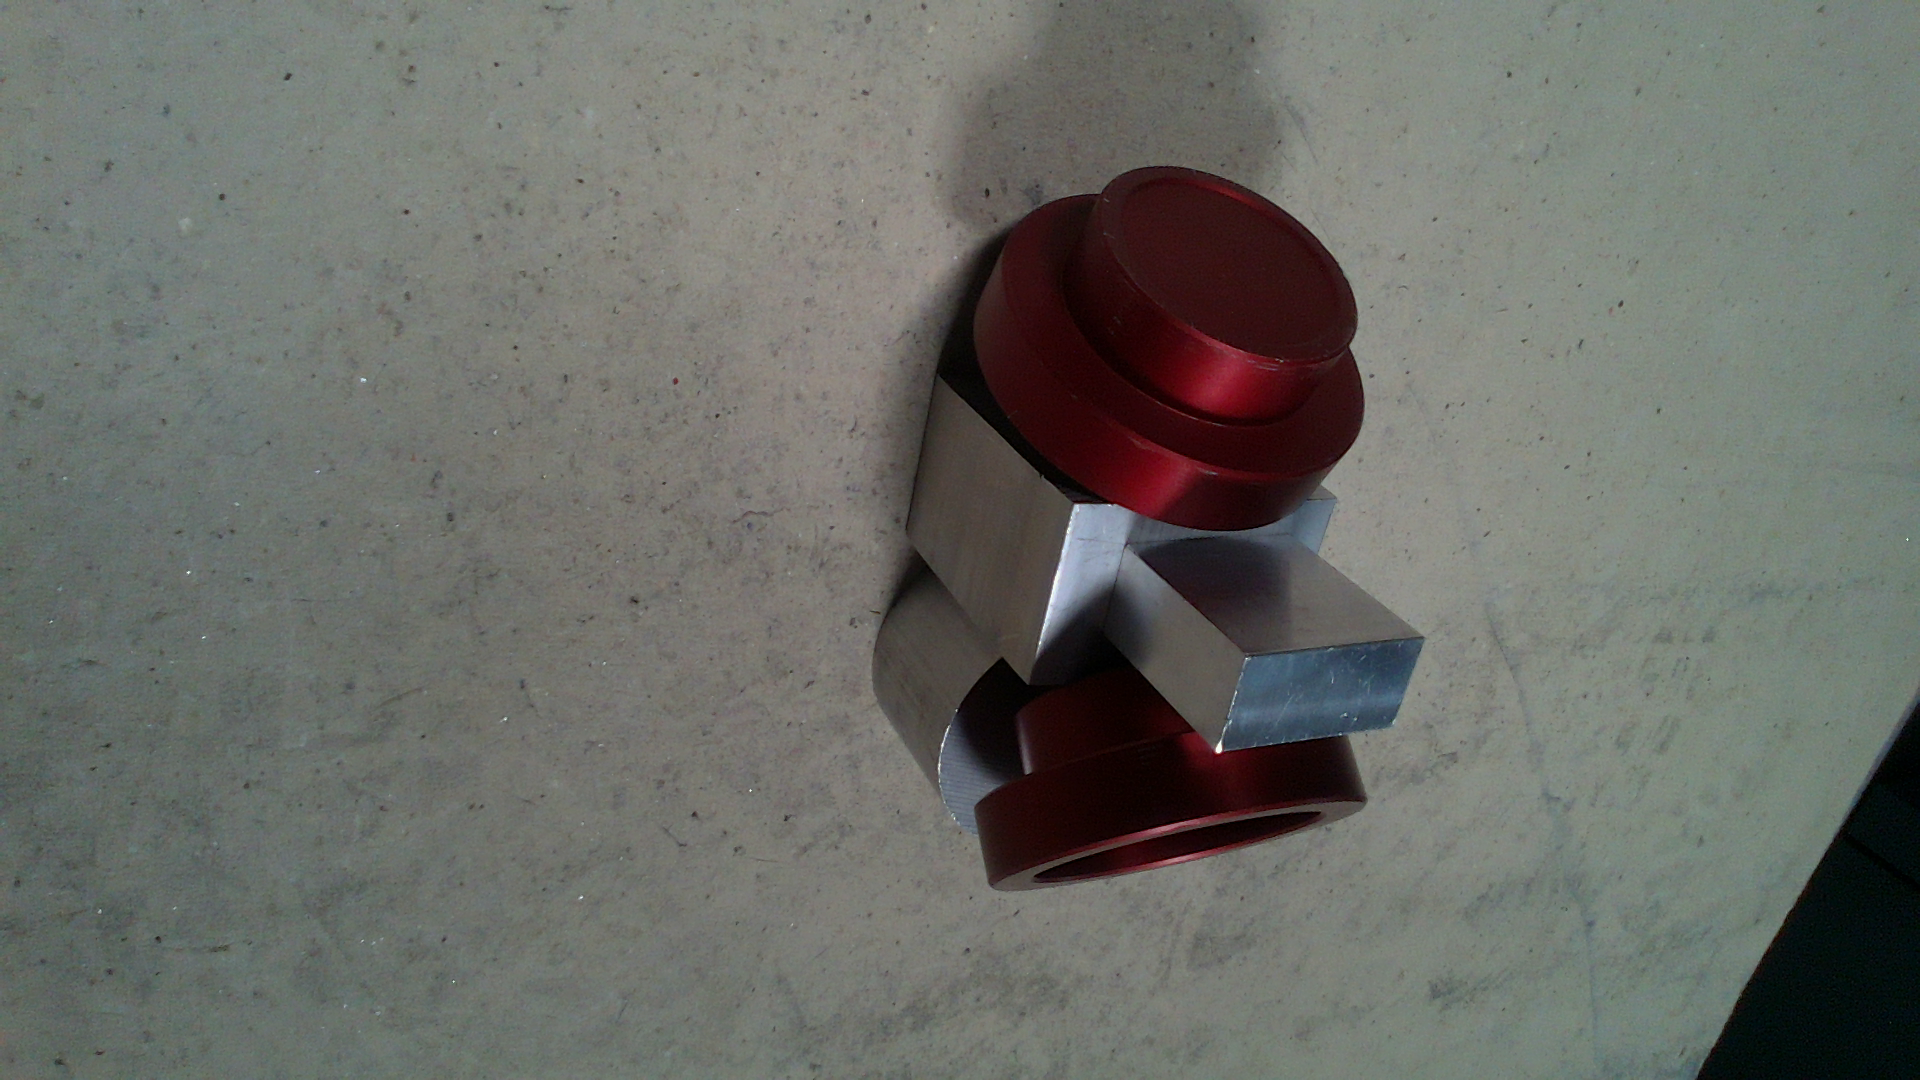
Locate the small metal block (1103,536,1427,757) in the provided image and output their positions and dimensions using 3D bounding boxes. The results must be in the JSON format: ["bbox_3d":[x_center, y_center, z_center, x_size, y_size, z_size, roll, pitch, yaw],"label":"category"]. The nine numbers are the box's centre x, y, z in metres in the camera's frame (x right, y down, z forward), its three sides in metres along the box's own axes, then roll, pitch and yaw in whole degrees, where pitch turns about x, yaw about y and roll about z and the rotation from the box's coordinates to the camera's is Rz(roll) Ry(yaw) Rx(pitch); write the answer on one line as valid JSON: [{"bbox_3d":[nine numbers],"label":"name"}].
[{"bbox_3d":[0.070,0.023,0.321,0.050,0.050,0.025,-3,119,-27],"label":"small metal block"}]

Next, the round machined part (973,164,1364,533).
[{"bbox_3d":[0.056,-0.053,0.335,0.098,0.098,0.042,-2,145,-27],"label":"round machined part"}]

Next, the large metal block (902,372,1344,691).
[{"bbox_3d":[0.040,-0.006,0.371,0.080,0.080,0.050,-2,119,-27],"label":"large metal block"}]

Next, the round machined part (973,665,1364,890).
[{"bbox_3d":[0.051,0.060,0.357,0.098,0.042,0.098,-11,160,-4],"label":"round machined part"}]

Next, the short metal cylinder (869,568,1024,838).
[{"bbox_3d":[0.019,0.044,0.412,0.080,0.050,0.080,-14,124,-21],"label":"short metal cylinder"}]
